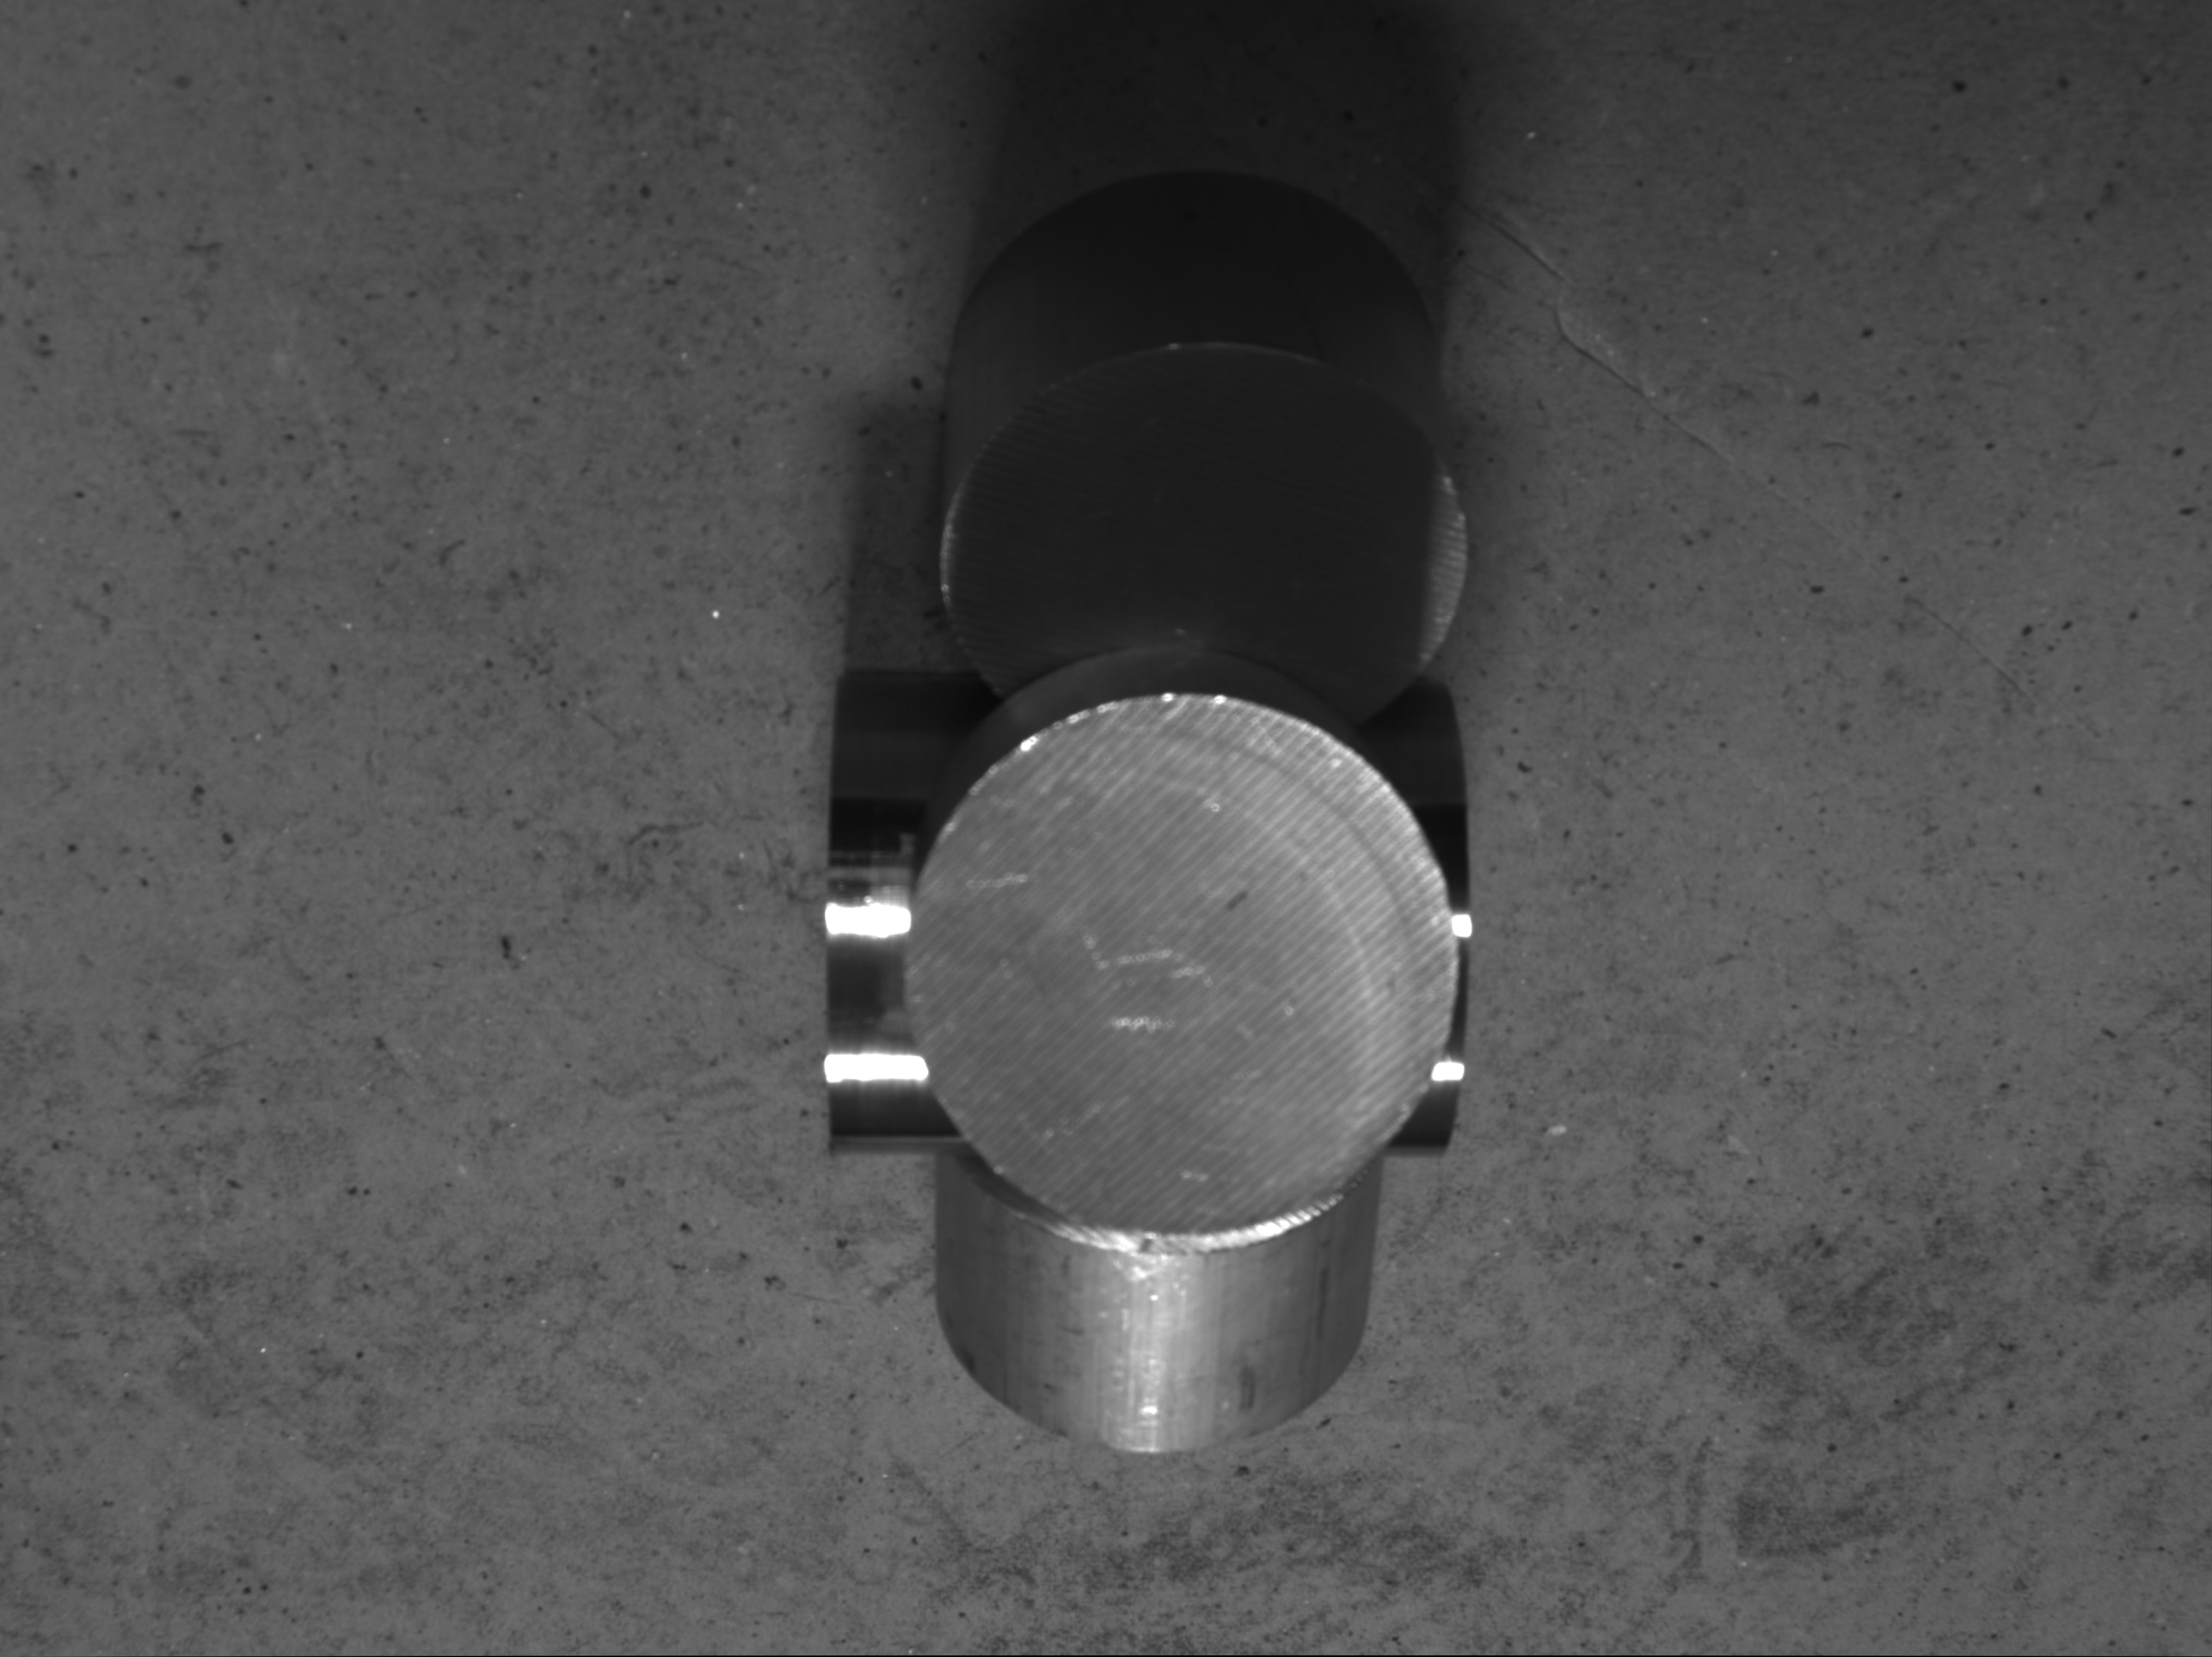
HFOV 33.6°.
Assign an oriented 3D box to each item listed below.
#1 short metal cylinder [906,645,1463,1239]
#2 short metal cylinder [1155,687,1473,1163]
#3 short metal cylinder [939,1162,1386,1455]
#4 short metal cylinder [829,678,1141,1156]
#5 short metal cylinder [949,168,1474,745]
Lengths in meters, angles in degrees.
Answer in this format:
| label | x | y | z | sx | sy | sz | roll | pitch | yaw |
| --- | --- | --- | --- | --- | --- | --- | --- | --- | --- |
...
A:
| label | x | y | z | sx | sy | sz | roll | pitch | yaw |
| --- | --- | --- | --- | --- | --- | --- | --- | --- | --- |
| short metal cylinder | 0.011 | 0.016 | 0.550 | 0.080 | 0.050 | 0.080 | 0 | 101 | -2 |
| short metal cylinder | 0.032 | 0.016 | 0.616 | 0.050 | 0.080 | 0.080 | 1 | 130 | -1 |
| short metal cylinder | 0.010 | 0.065 | 0.658 | 0.080 | 0.080 | 0.050 | 0 | 130 | -2 |
| short metal cylinder | -0.020 | 0.015 | 0.615 | 0.050 | 0.080 | 0.080 | 0 | 130 | -2 |
| short metal cylinder | 0.016 | -0.056 | 0.577 | 0.080 | 0.050 | 0.080 | -1 | 130 | -1 |
